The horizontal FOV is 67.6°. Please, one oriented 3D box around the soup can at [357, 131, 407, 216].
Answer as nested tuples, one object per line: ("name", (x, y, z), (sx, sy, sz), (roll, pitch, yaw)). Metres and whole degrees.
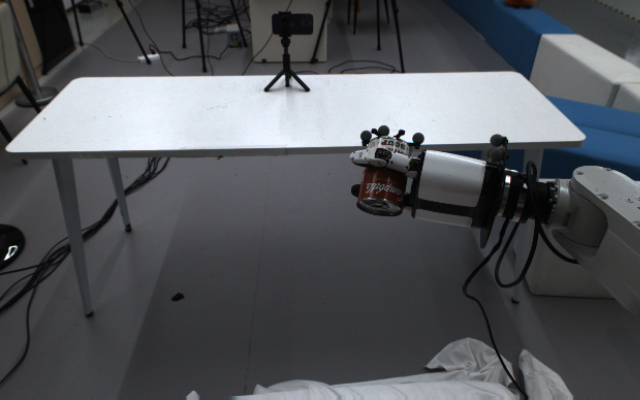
("soup can", (0.096, -0.035, 0.711), (0.067, 0.067, 0.101), (9, 71, 9))
